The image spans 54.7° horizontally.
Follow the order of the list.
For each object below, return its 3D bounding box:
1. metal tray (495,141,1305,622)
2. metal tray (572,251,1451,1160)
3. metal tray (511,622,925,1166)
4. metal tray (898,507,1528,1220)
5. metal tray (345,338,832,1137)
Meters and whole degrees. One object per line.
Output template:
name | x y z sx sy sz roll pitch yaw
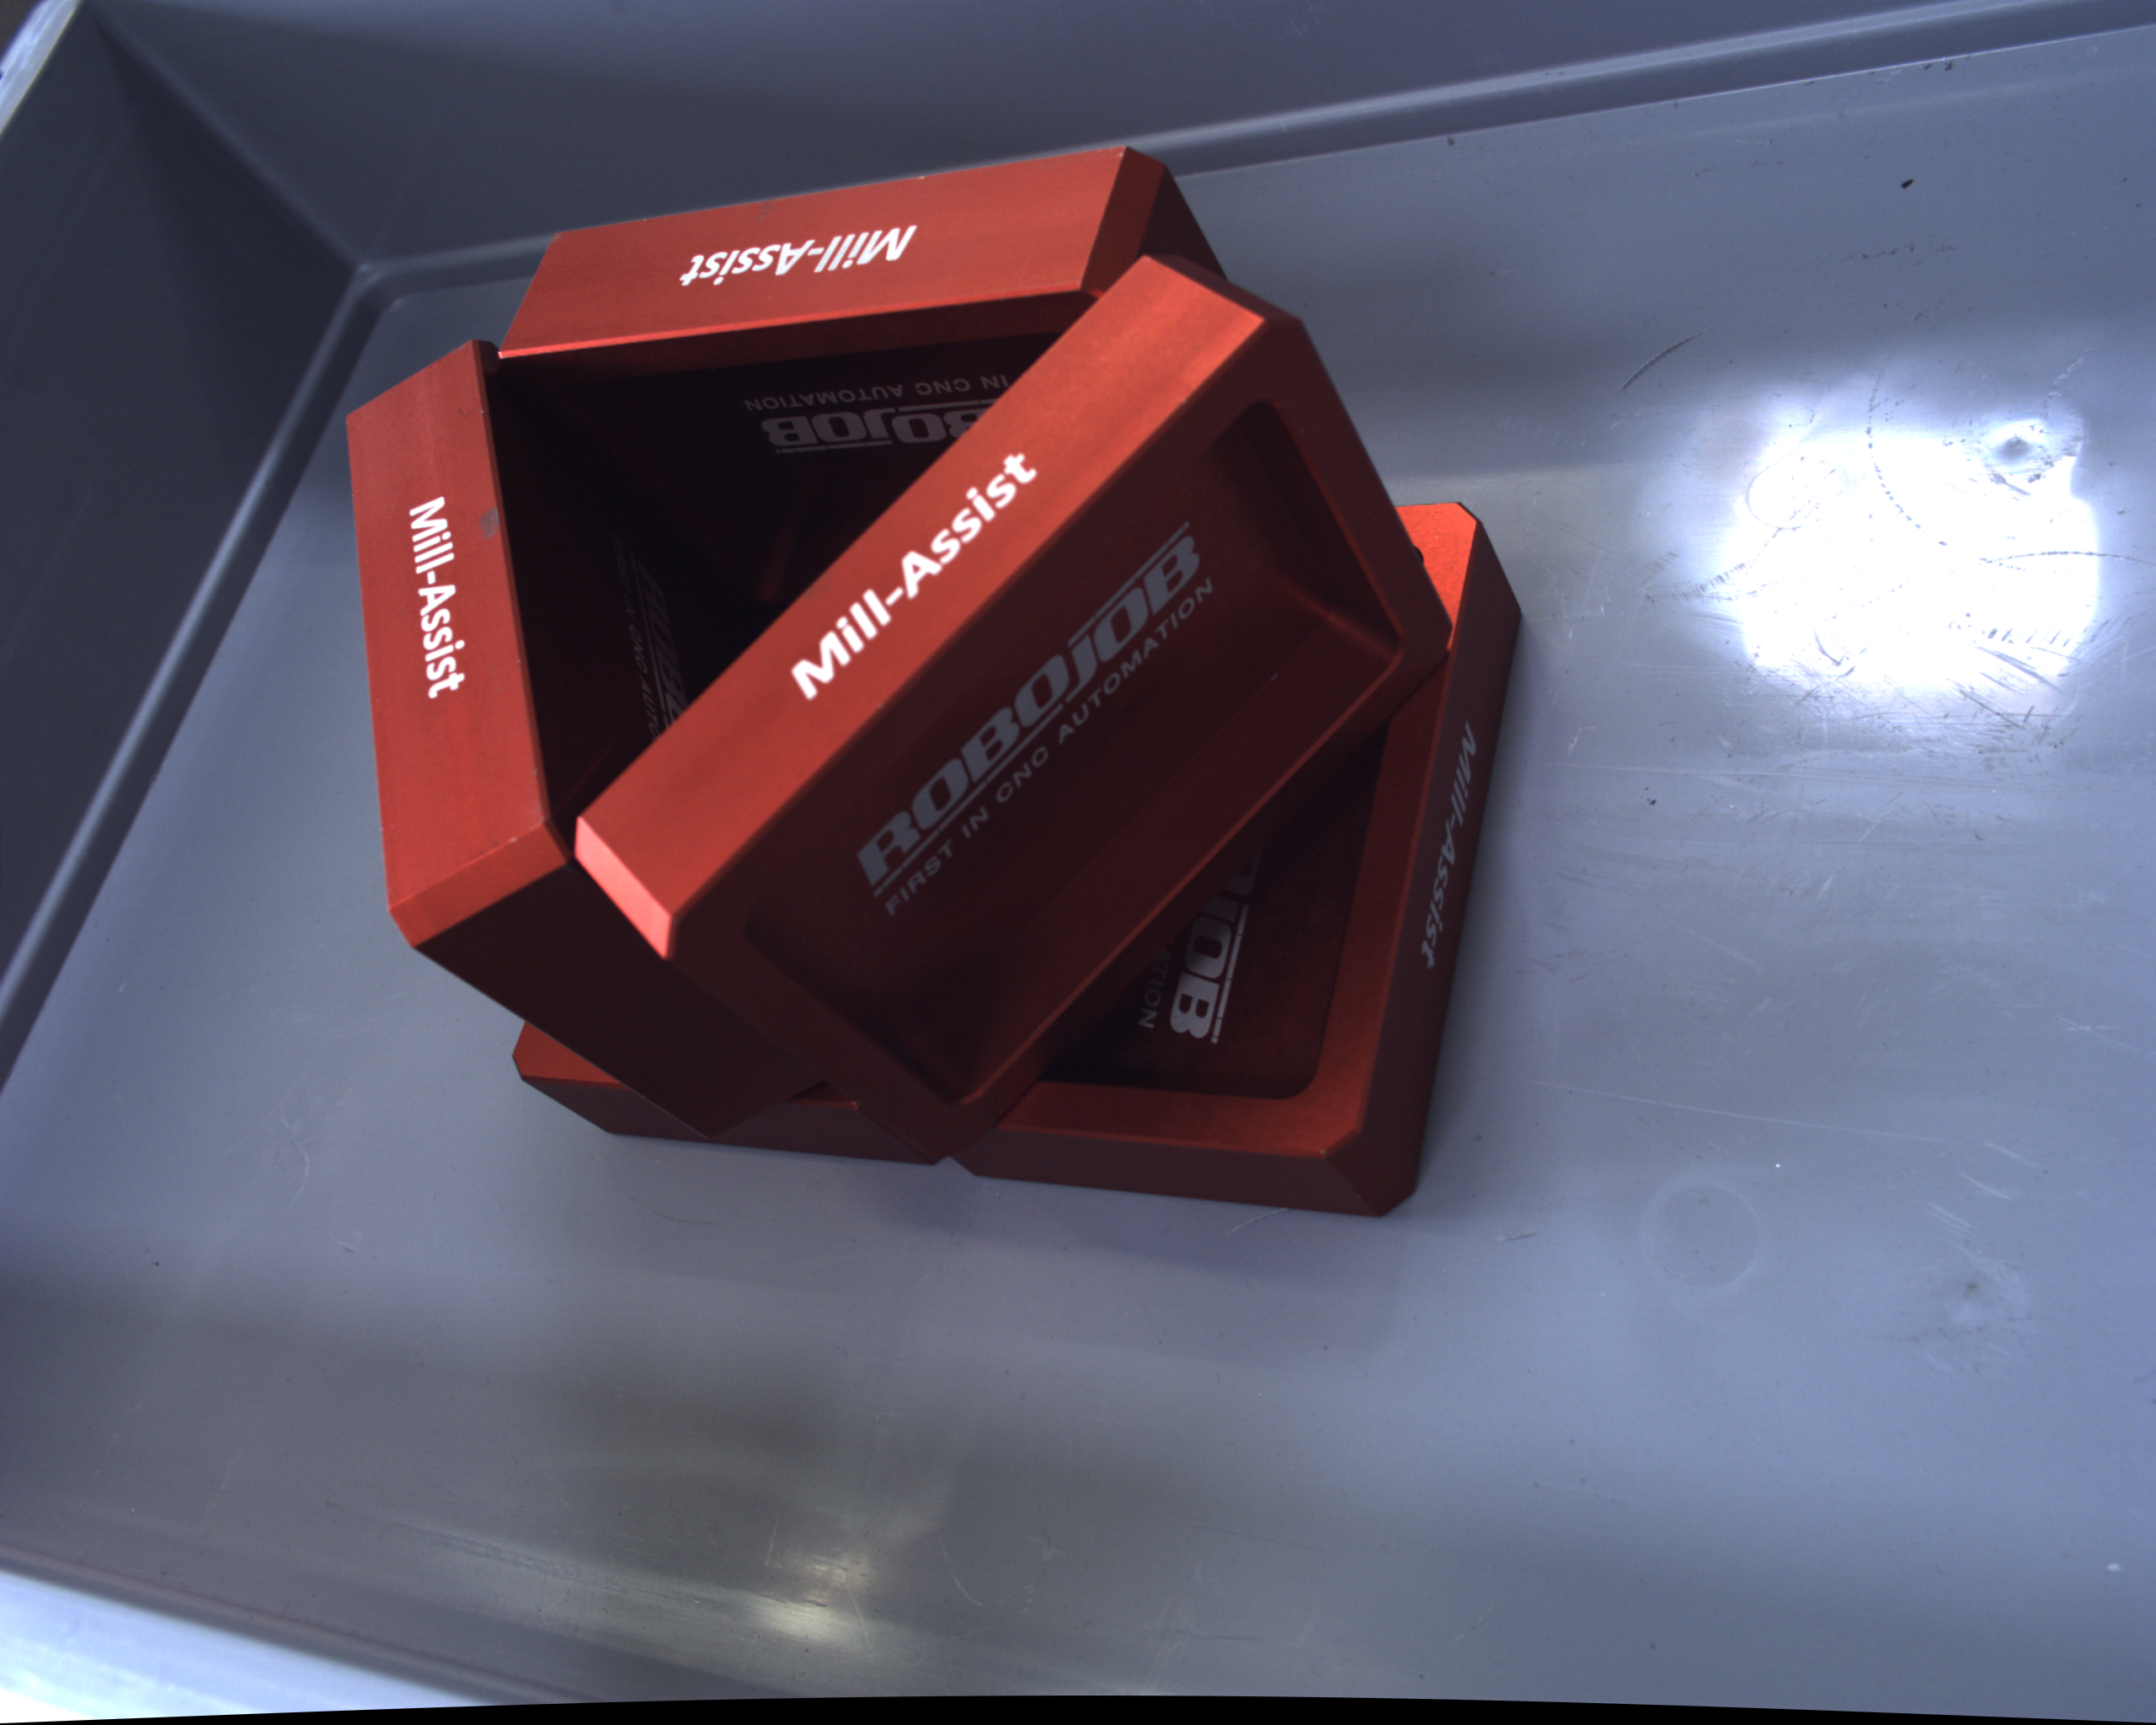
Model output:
metal tray | -0.030 -0.083 0.388 0.130 0.090 0.030 2 63 29
metal tray | -0.005 -0.022 0.338 0.130 0.090 0.030 -46 51 -4
metal tray | -0.054 -0.005 0.434 0.090 0.030 0.130 1 61 28
metal tray | 0.026 -0.003 0.390 0.090 0.030 0.130 1 61 29
metal tray | -0.089 -0.024 0.384 0.030 0.090 0.130 -28 52 11
